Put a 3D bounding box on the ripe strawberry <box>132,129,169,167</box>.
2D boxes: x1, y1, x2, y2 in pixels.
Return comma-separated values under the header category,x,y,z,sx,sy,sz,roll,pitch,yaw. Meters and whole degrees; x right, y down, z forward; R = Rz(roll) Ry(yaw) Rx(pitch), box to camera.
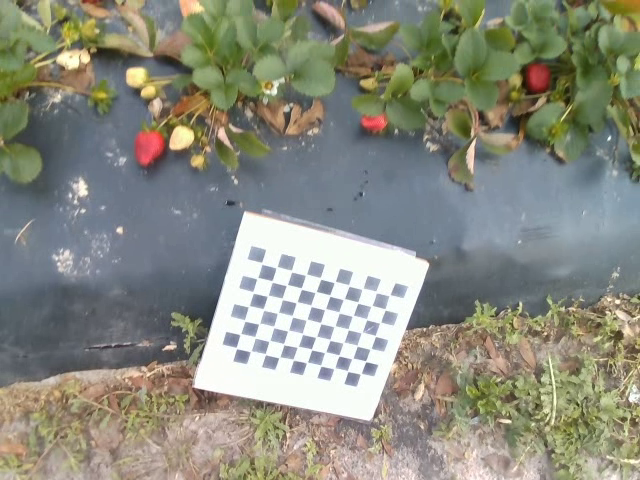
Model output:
category,x,y,z,sx,sy,sz,roll,pitch,yaw
ripe strawberry,-0.234,-0.125,0.857,0.050,0.059,0.034,4,-33,-10
